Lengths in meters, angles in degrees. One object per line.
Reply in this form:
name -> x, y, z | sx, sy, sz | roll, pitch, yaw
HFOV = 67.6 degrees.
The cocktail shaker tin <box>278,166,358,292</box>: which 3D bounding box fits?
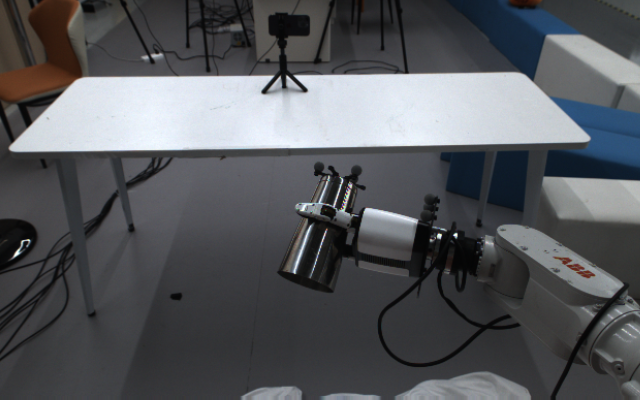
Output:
cocktail shaker tin -> 0.003, 0.049, 0.765 | 0.093, 0.093, 0.170 | 13, 70, 16
